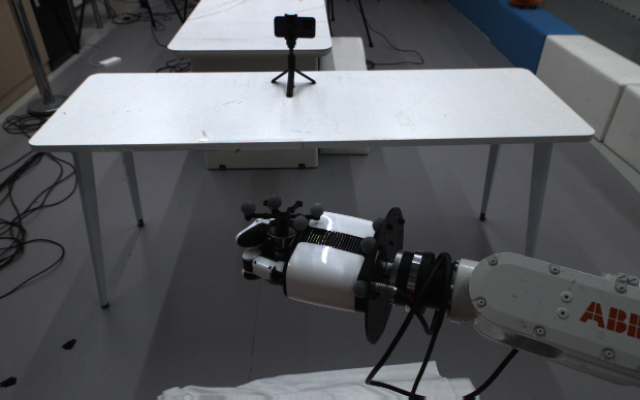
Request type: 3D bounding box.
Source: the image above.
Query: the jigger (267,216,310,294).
[{"bbox_3d":[-0.043,0.065,0.602,0.043,0.071,0.043,3,25,-1],"label":"jigger"}]
